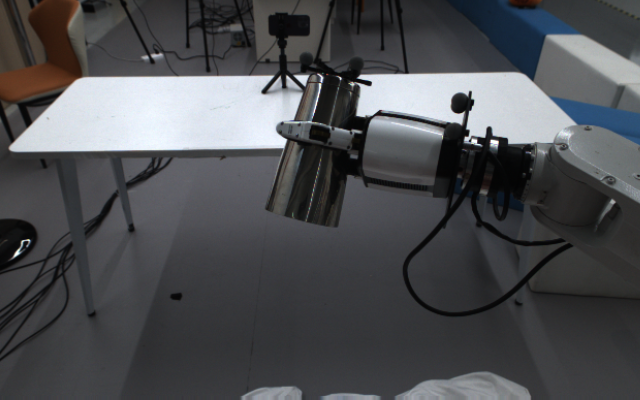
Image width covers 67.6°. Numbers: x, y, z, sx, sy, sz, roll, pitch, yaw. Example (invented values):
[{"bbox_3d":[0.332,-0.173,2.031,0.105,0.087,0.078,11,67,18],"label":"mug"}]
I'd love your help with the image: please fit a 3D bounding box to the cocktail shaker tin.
[{"bbox_3d":[-0.002,-0.061,0.589,0.093,0.170,0.093,14,2,0],"label":"cocktail shaker tin"}]
